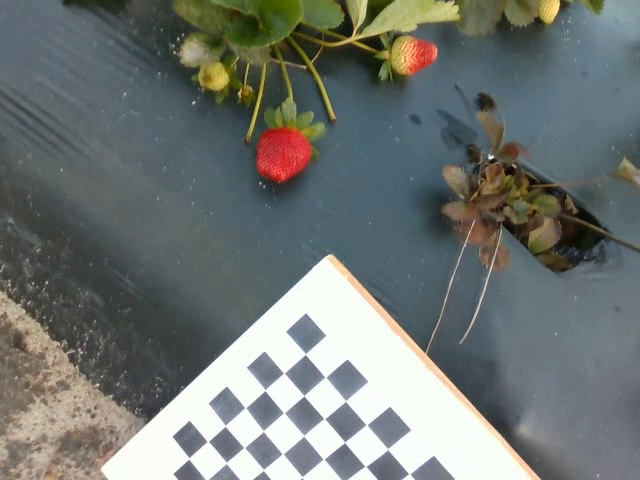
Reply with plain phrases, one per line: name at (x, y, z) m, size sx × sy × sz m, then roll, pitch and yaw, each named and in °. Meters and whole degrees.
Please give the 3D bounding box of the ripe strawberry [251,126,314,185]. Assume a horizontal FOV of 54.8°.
ripe strawberry at (-0.030, -0.060, 0.448) m, size 0.045 × 0.042 × 0.055 m, roll 0°, pitch 35°, yaw 20°
